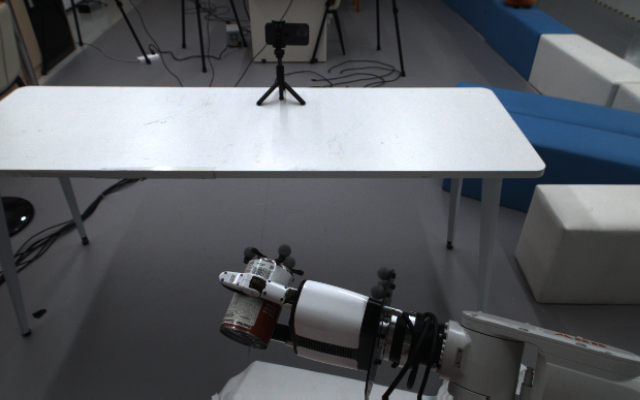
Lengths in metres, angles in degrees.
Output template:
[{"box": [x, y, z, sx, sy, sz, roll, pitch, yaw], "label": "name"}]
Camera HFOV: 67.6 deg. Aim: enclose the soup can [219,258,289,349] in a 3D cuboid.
[{"box": [-0.081, 0.134, 0.637, 0.067, 0.067, 0.101, 12, 59, 14], "label": "soup can"}]
